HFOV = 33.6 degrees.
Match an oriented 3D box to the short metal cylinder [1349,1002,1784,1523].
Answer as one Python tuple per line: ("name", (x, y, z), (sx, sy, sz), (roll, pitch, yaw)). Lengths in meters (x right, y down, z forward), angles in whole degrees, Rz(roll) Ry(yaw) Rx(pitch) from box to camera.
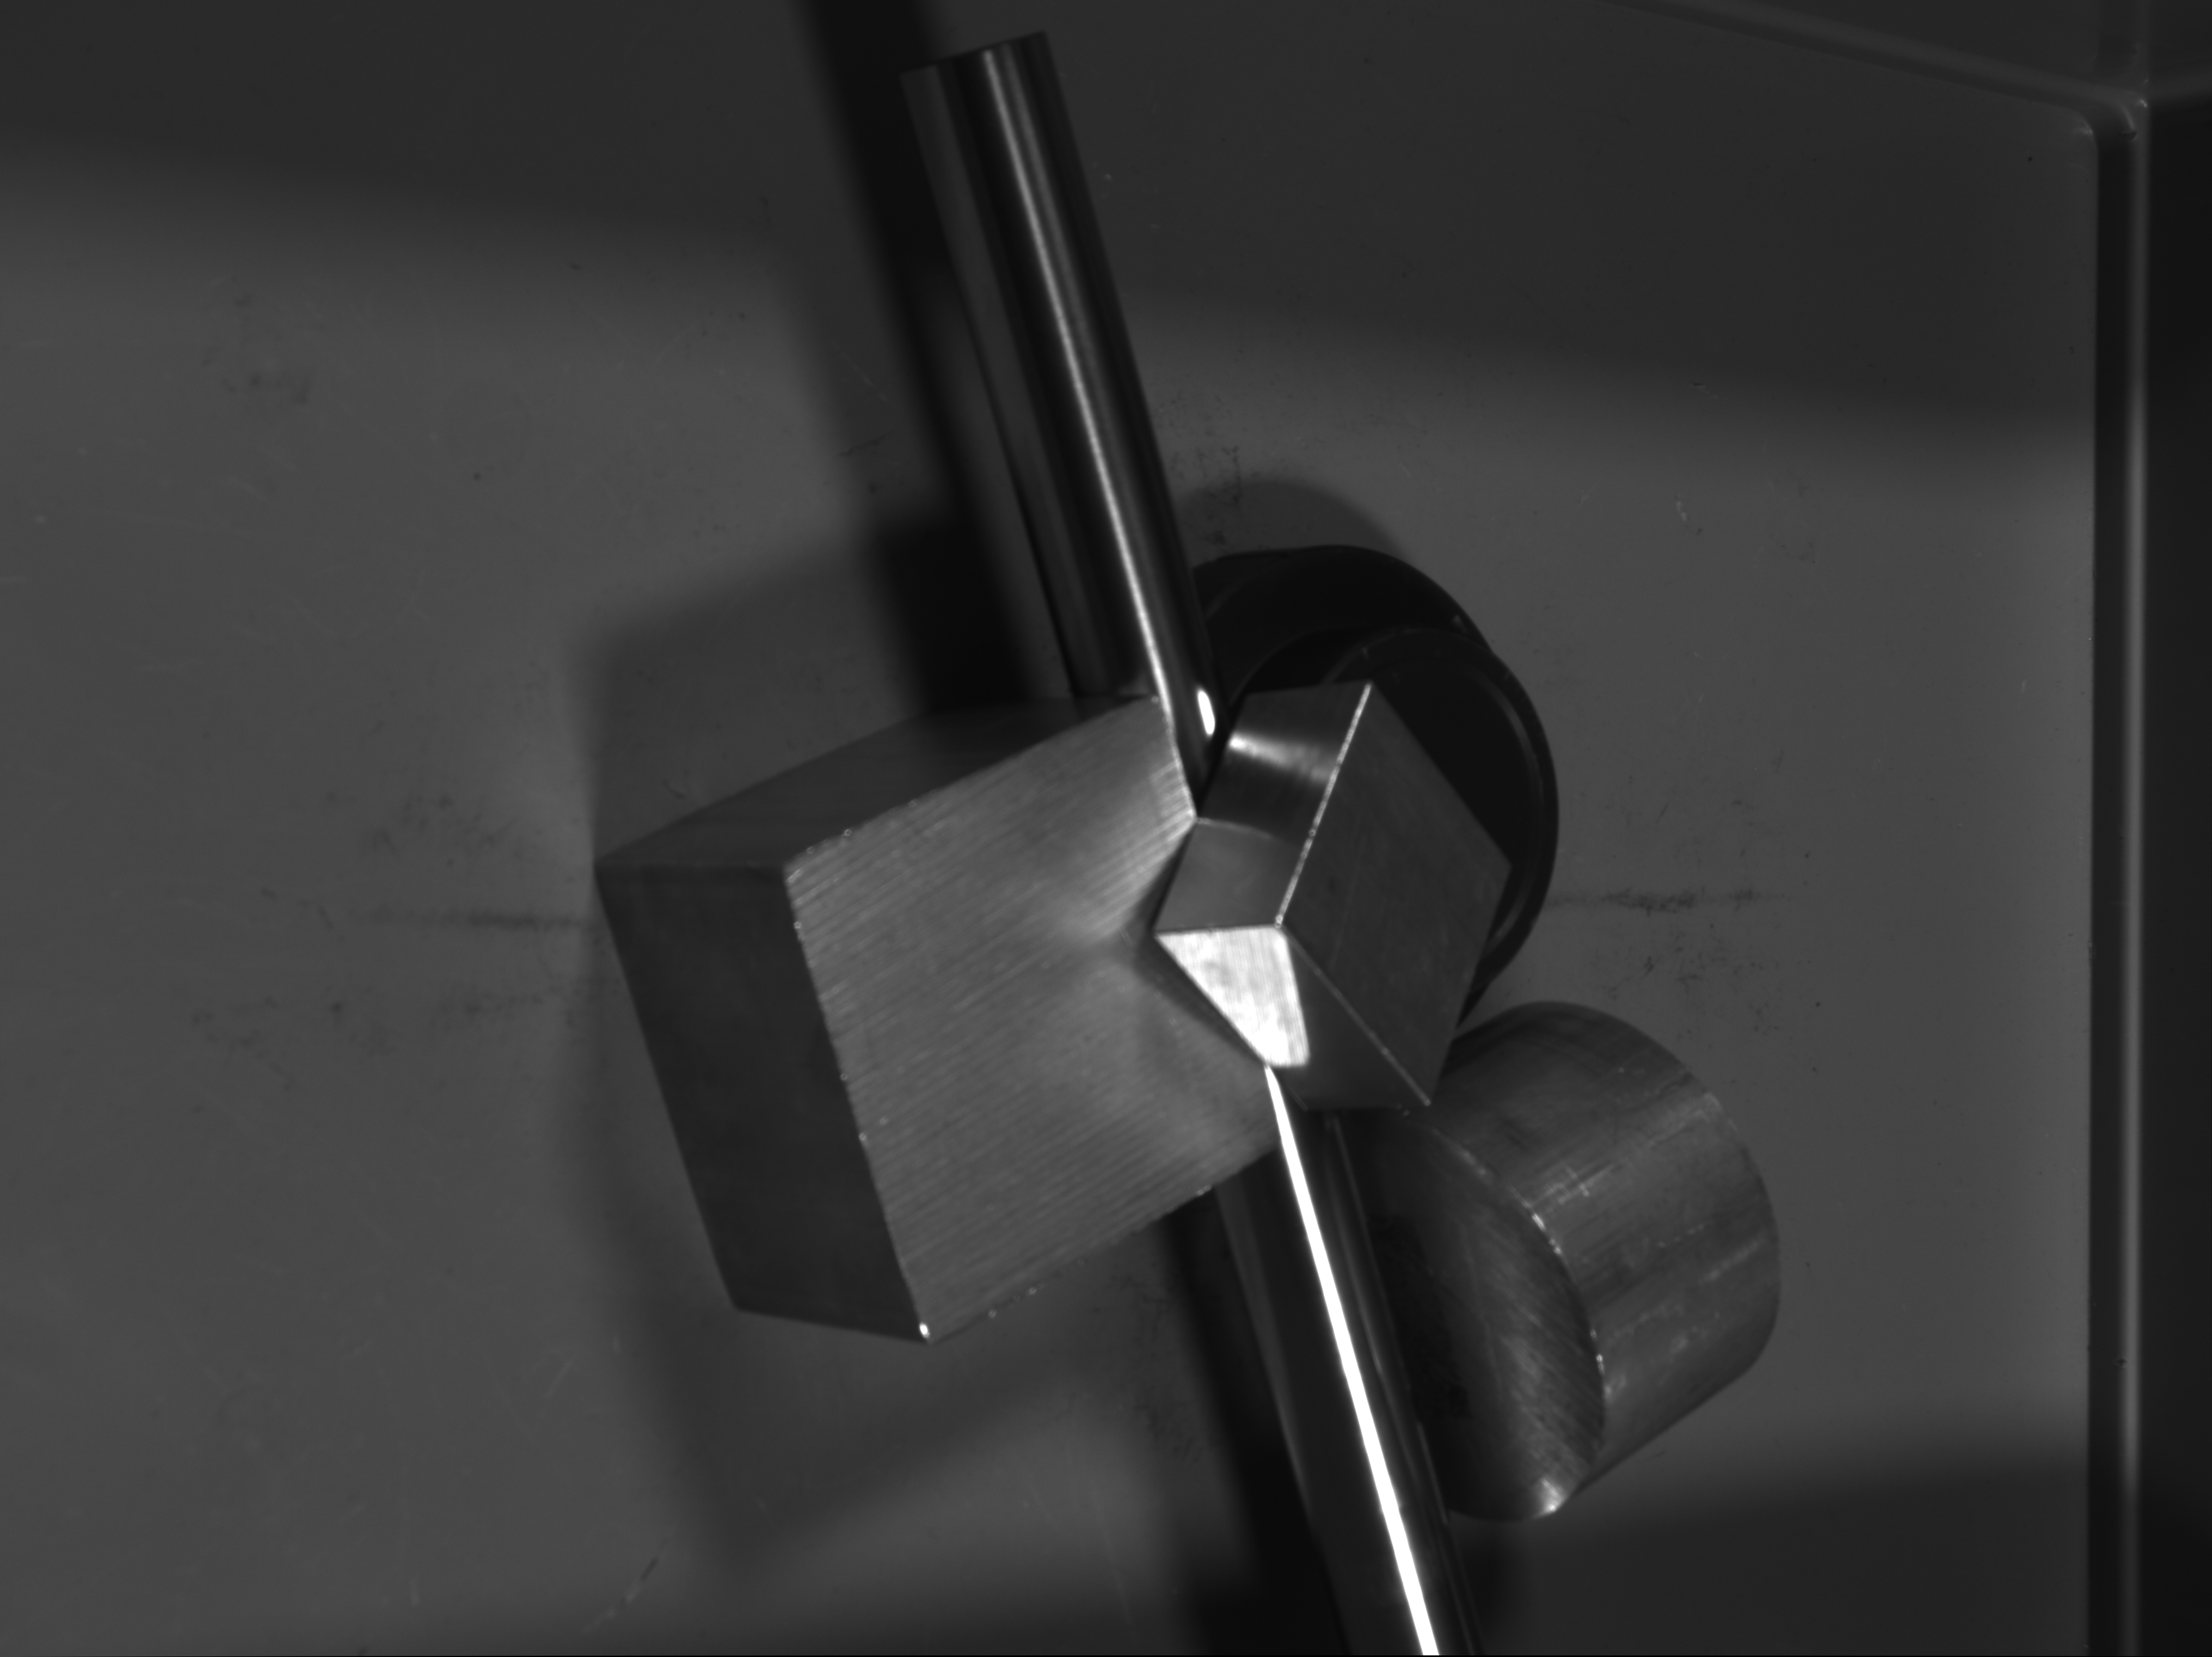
("short metal cylinder", (0.075, 0.078, 0.662), (0.050, 0.080, 0.080), (-26, 106, -37))

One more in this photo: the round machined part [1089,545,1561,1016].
("round machined part", (0.044, -0.002, 0.661), (0.098, 0.042, 0.098), (0, 90, -40))

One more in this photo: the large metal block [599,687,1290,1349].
("large metal block", (-0.025, 0.029, 0.596), (0.080, 0.050, 0.080), (-26, 106, -37))

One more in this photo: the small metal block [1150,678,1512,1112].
("small metal block", (0.038, 0.012, 0.605), (0.050, 0.025, 0.050), (49, 49, -36))

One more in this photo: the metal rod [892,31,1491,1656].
("metal rod", (0.018, 0.015, 0.624), (0.025, 0.025, 0.300), (-26, 106, -37))
